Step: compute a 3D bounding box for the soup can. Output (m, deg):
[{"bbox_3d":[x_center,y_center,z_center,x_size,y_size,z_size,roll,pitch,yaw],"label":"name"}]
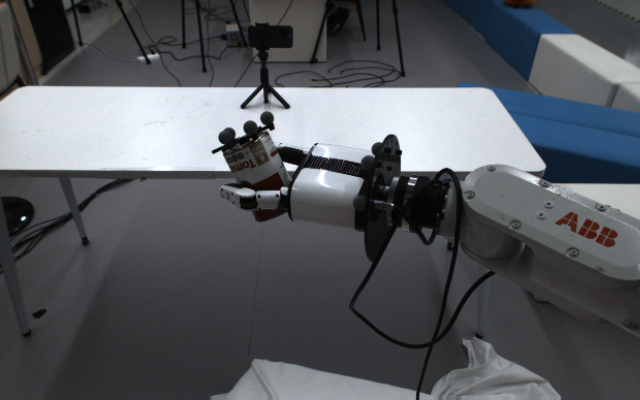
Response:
[{"bbox_3d":[-0.076,-0.031,0.641,0.067,0.101,0.067,-23,15,7],"label":"soup can"}]
